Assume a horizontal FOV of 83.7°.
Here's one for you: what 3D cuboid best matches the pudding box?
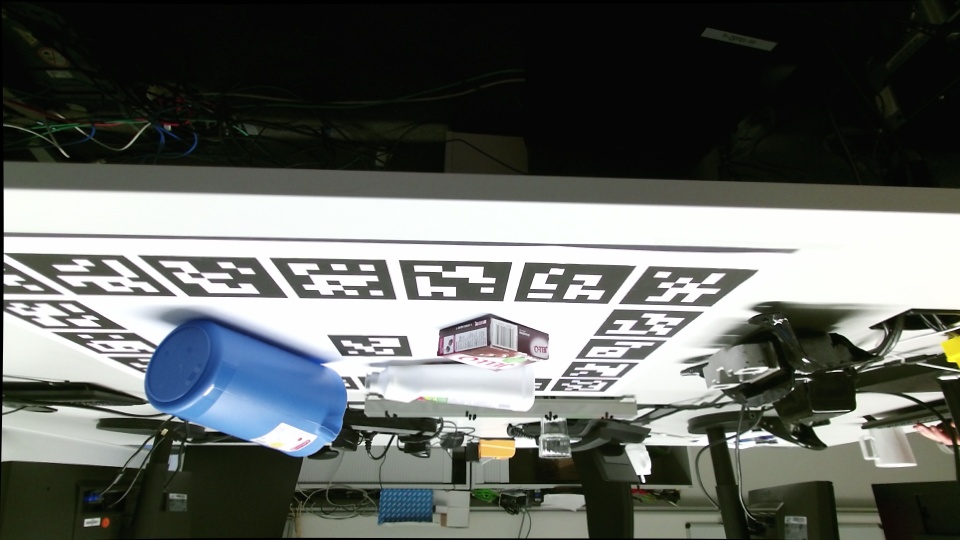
[{"bbox_3d":[0.016,0.106,0.676,0.090,0.038,0.114,-17,147,40],"label":"pudding box"}]

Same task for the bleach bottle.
[{"bbox_3d":[-0.051,0.192,0.824,0.252,0.067,0.103,1,148,2],"label":"bleach bottle"}]

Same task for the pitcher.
[{"bbox_3d":[-0.308,0.151,0.713,0.189,0.133,0.243,24,162,35],"label":"pitcher"}]
